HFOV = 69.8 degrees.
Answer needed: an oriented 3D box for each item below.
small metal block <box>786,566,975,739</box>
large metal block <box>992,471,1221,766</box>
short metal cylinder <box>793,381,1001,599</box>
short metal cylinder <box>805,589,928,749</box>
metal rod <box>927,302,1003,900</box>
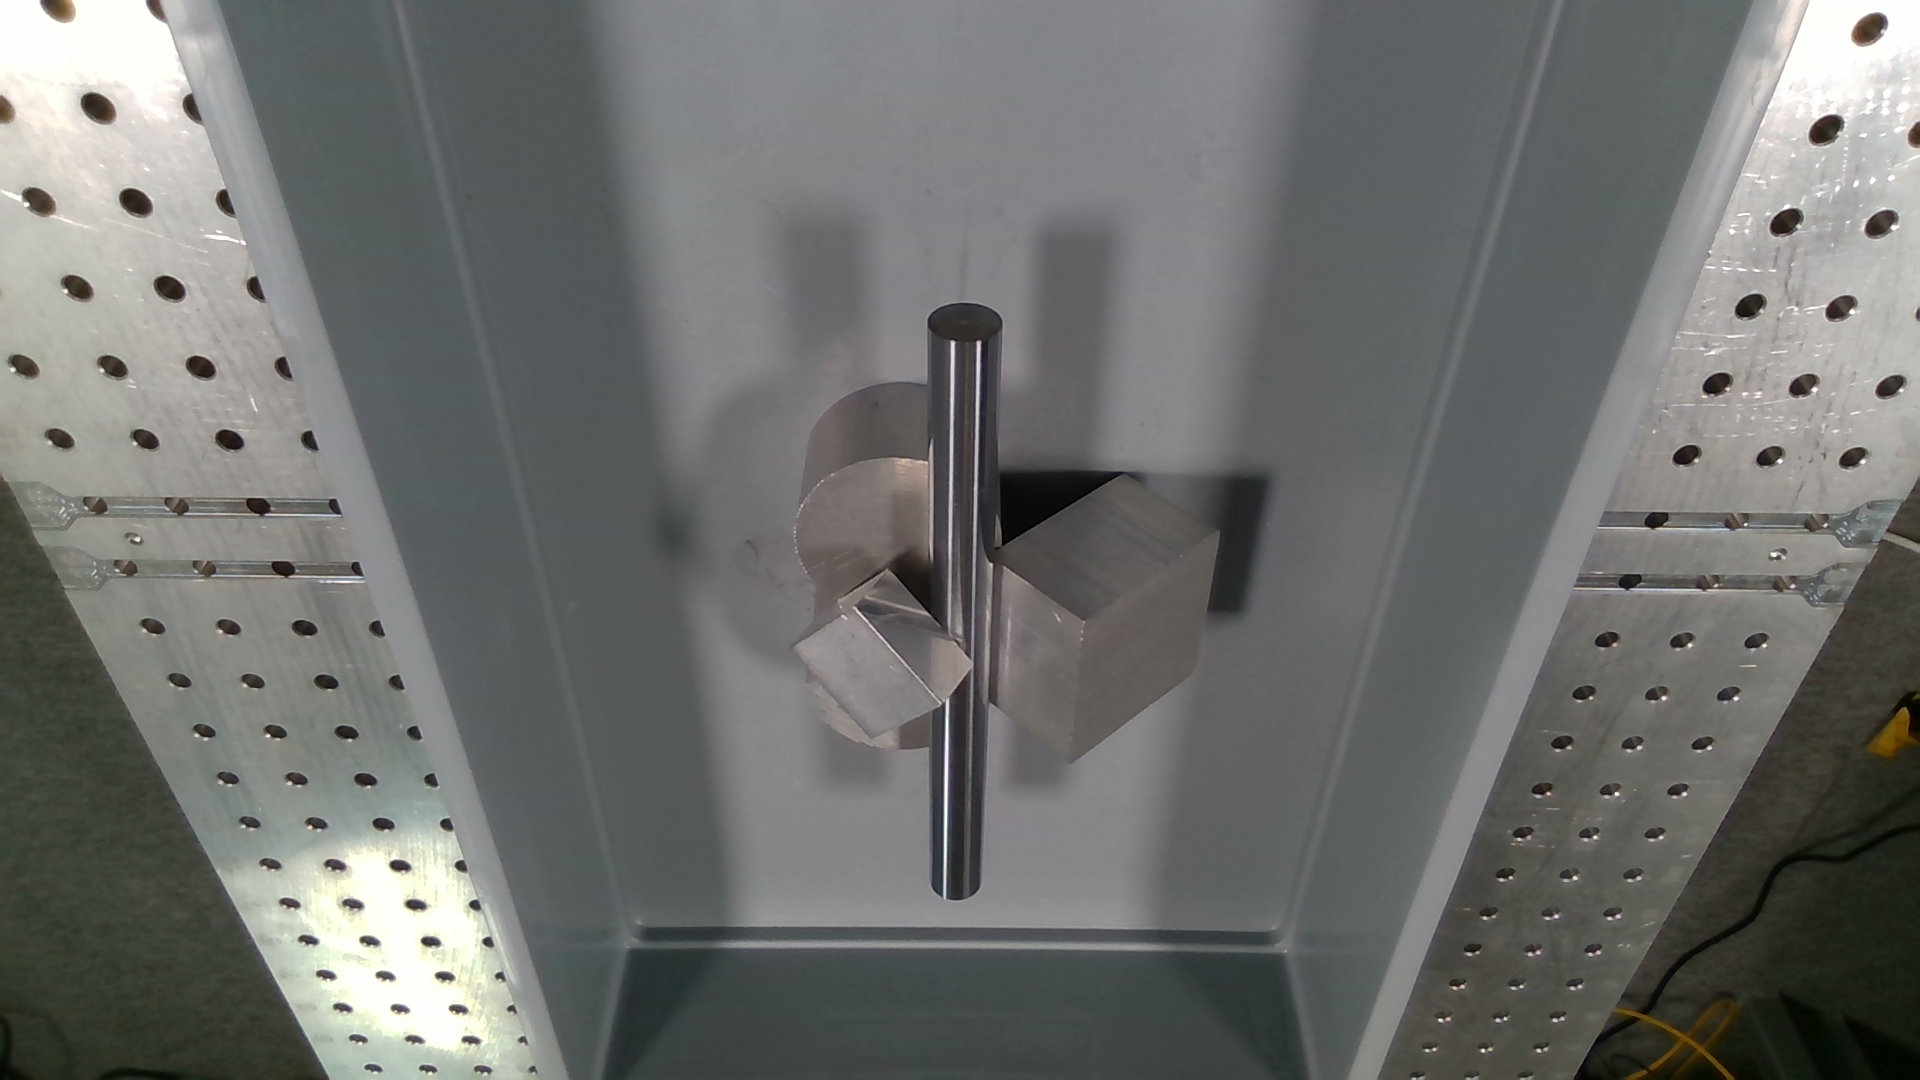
[{"bbox_3d":[-0.031,0.045,0.536,0.050,0.025,0.050,48,137,-9],"label":"small metal block"},{"bbox_3d":[0.056,0.031,0.561,0.080,0.050,0.080,-31,139,-32],"label":"large metal block"},{"bbox_3d":[-0.024,-0.016,0.548,0.080,0.050,0.080,0,130,0],"label":"short metal cylinder"},{"bbox_3d":[-0.026,0.046,0.600,0.080,0.050,0.080,0,130,0],"label":"short metal cylinder"},{"bbox_3d":[0.000,0.043,0.549,0.025,0.025,0.301,1,130,0],"label":"metal rod"}]
